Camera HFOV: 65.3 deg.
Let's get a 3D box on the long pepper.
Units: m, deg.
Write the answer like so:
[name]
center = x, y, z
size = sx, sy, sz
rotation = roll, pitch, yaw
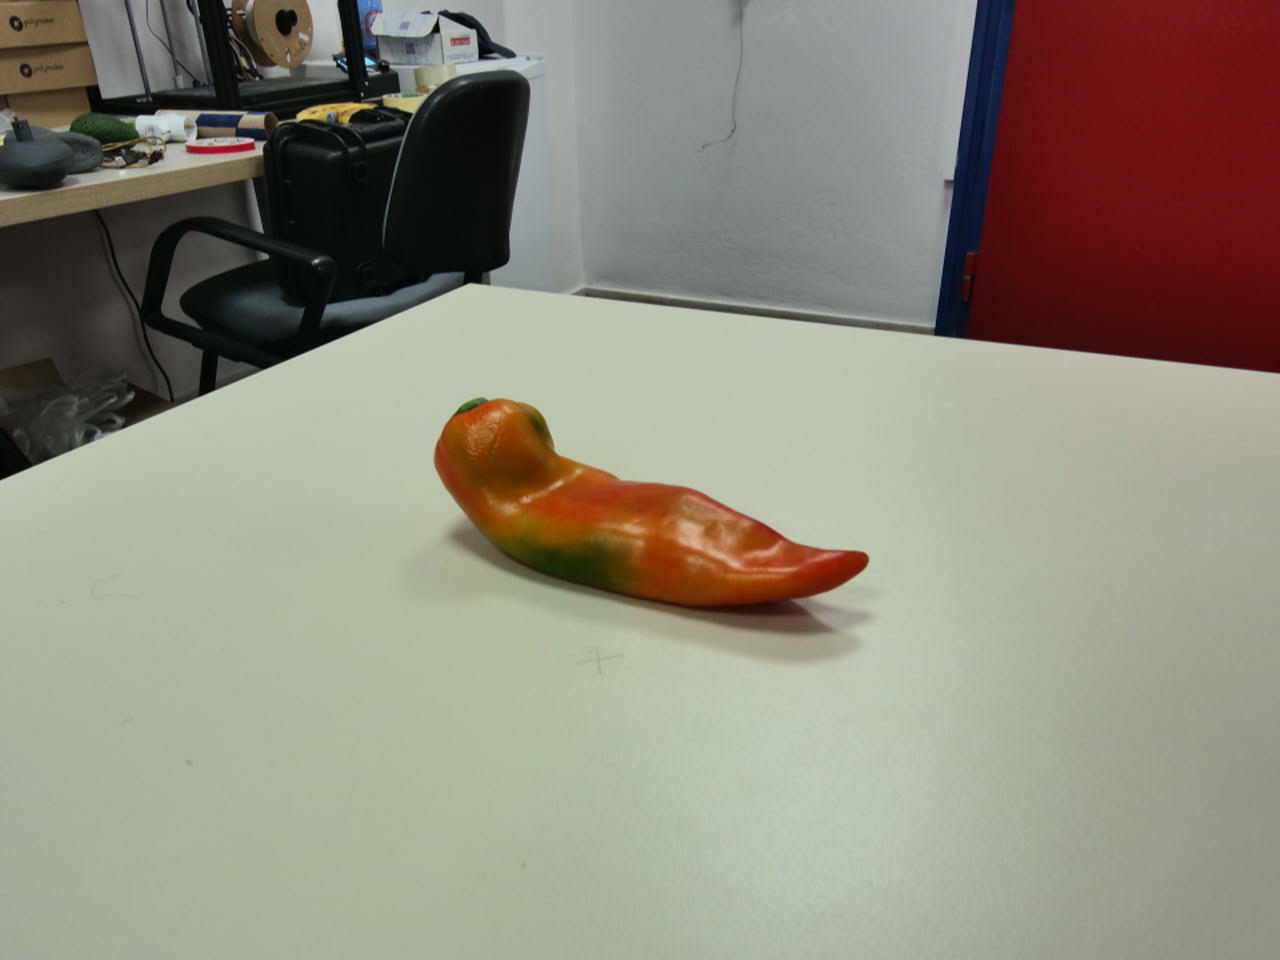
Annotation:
[long pepper]
center = -0.002, 0.009, 0.422
size = 0.199, 0.065, 0.066
rotation = 13, 27, 29
